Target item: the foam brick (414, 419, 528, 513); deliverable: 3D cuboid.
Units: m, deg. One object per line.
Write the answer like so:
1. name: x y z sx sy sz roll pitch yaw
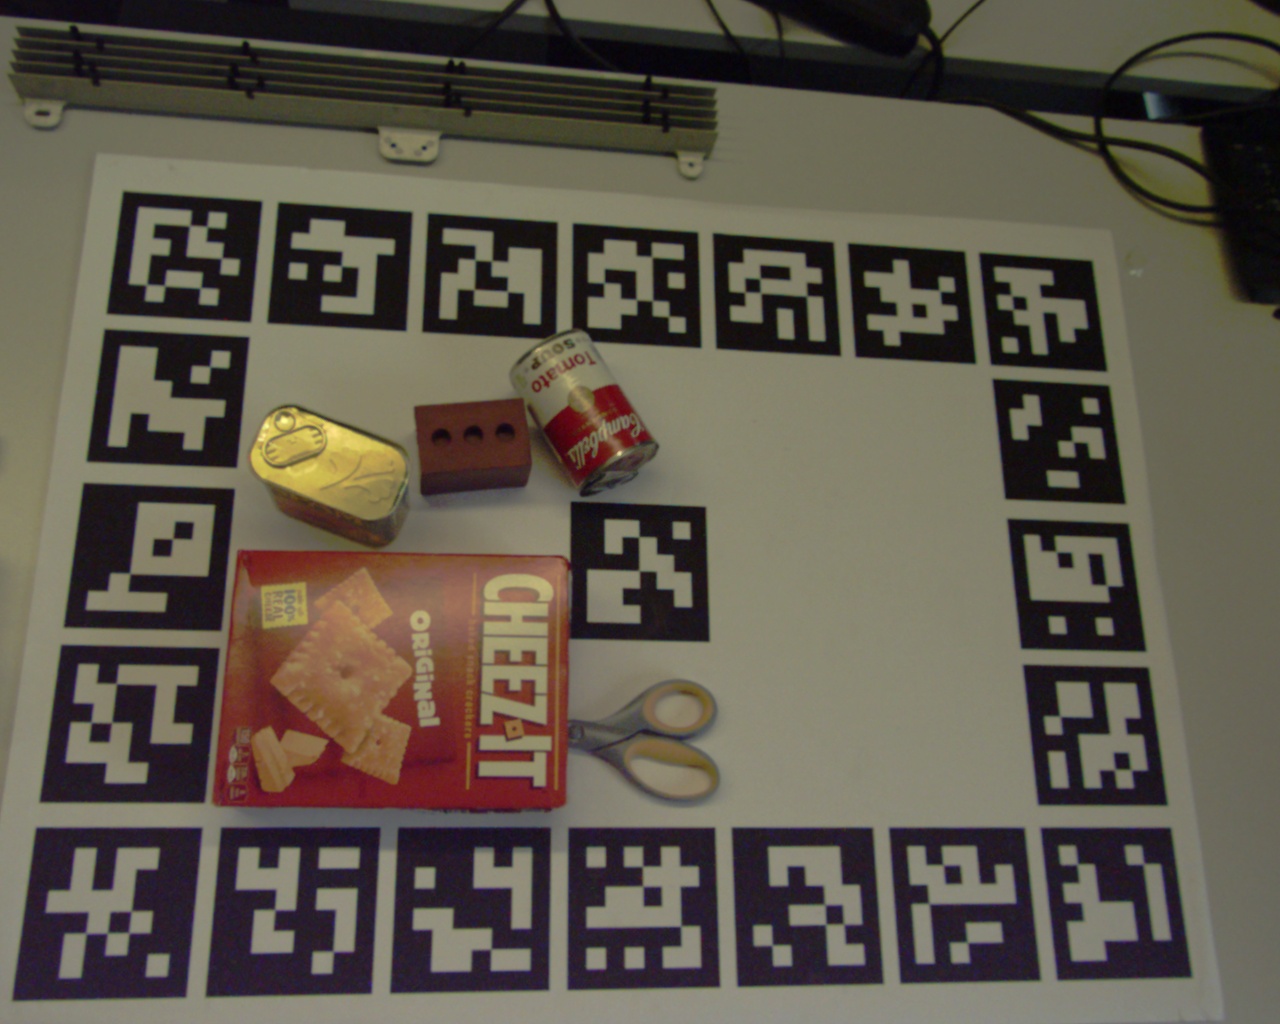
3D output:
1. foam brick: -0.124 -0.033 0.842 0.077 0.051 0.053 -8 78 -11

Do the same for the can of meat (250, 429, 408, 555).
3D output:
1. can of meat: -0.215 -0.010 0.803 0.101 0.084 0.058 16 74 -5

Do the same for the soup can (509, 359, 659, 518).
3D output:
1. soup can: -0.043 -0.056 0.859 0.067 0.068 0.102 -35 78 -15

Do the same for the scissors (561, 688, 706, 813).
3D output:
1. scissors: -0.055 0.173 0.804 0.202 0.016 0.088 -2 77 -9

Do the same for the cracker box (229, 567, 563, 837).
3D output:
1. cracker box: -0.163 0.126 0.768 0.213 0.072 0.164 -3 75 -5
